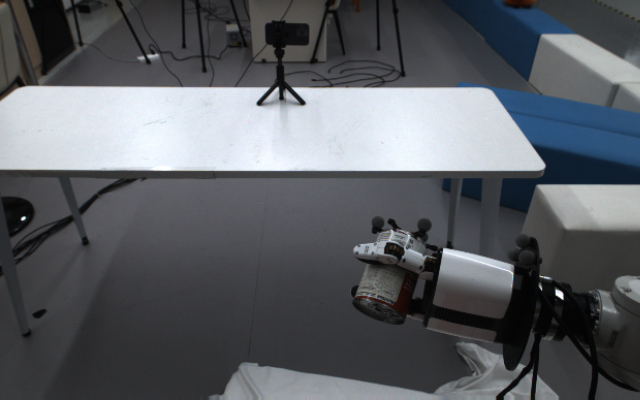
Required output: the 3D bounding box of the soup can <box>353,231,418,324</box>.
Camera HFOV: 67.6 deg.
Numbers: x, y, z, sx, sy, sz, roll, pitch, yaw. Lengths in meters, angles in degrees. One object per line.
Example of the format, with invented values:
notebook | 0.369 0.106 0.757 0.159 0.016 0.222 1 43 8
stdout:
soup can | 0.092 0.095 0.609 0.067 0.067 0.101 15 63 18
